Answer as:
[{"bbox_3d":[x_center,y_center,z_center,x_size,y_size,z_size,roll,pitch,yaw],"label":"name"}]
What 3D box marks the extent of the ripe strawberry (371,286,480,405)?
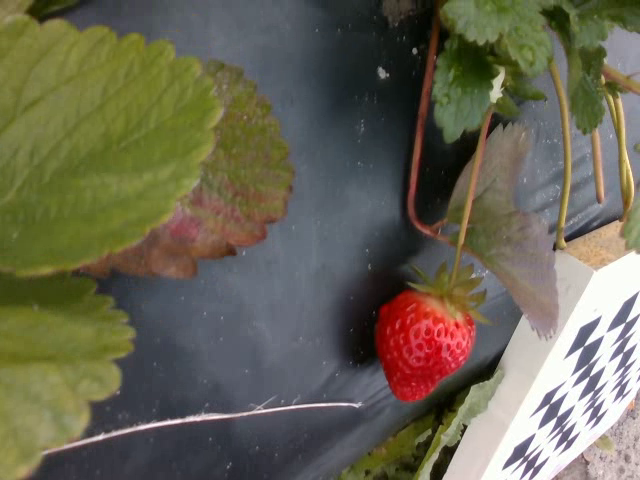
[{"bbox_3d":[0.026,0.027,0.149,0.028,0.033,0.022,4,27,-43],"label":"ripe strawberry"}]
